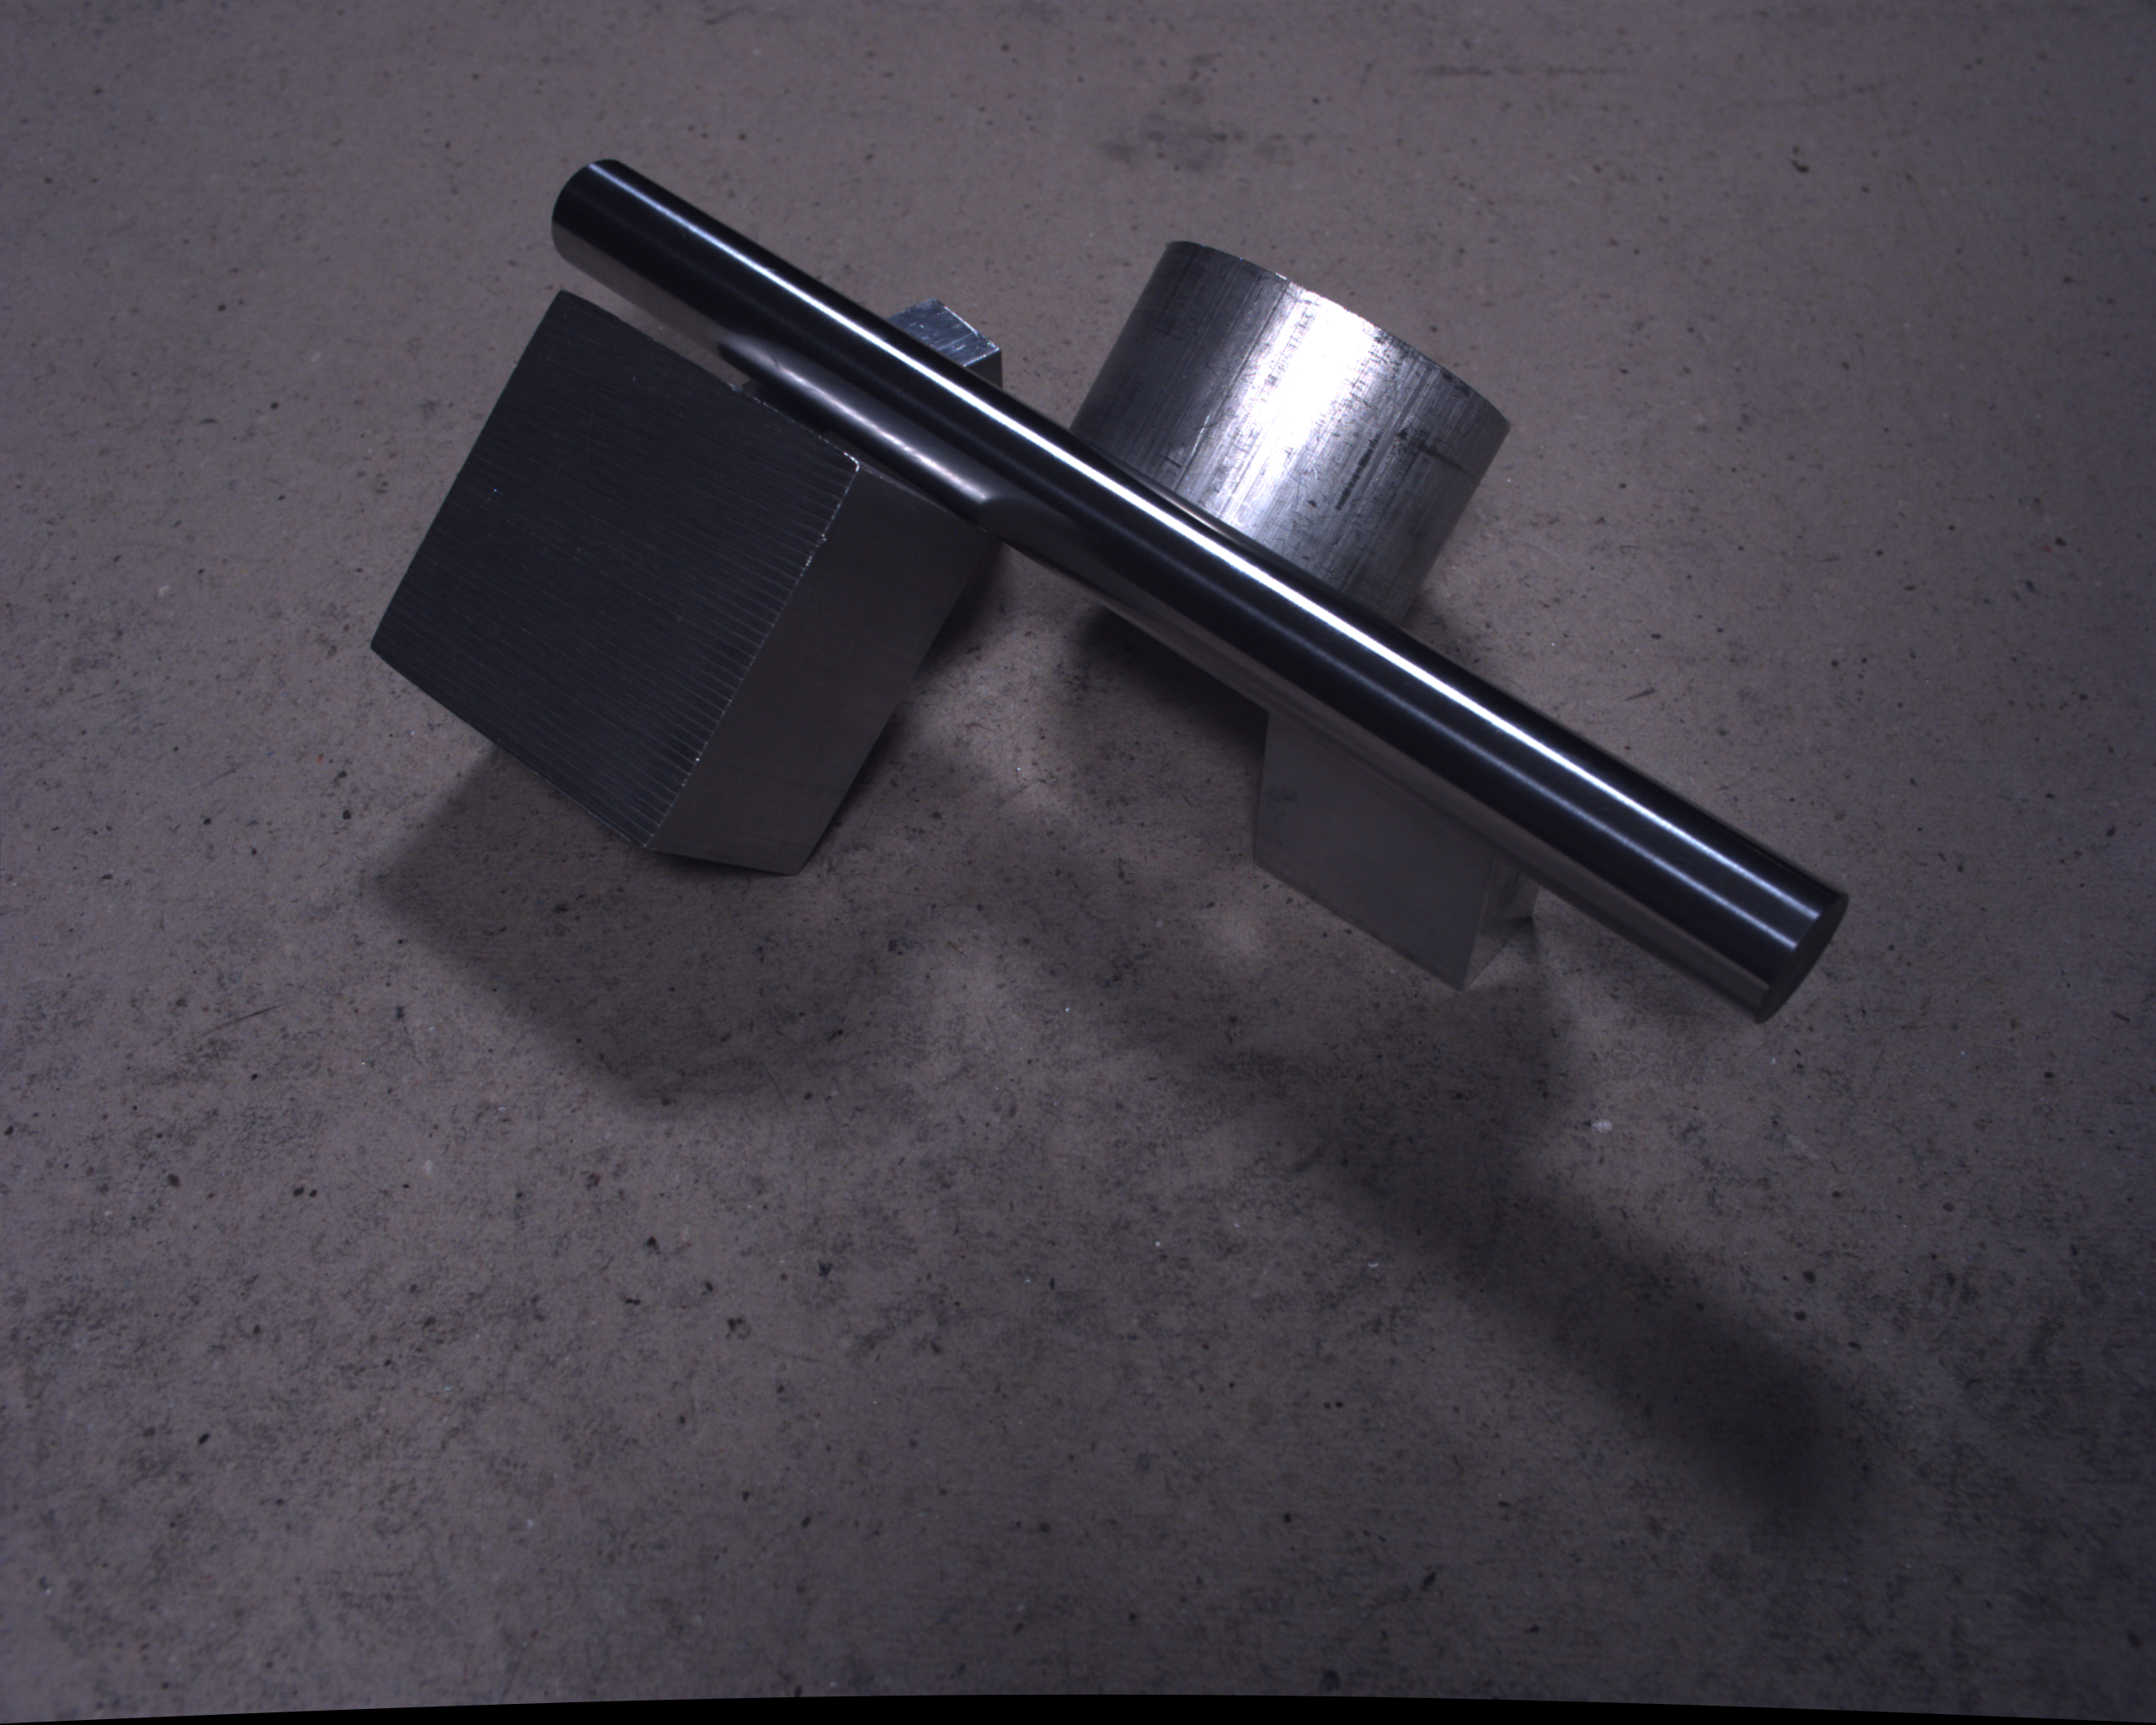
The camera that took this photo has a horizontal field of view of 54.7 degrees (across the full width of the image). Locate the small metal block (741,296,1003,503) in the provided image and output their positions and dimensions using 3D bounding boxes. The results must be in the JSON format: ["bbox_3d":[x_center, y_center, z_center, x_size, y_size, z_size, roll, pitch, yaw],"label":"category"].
[{"bbox_3d":[-0.044,-0.090,0.464,0.050,0.050,0.025,-32,57,-24],"label":"small metal block"}]

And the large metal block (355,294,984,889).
[{"bbox_3d":[-0.080,-0.051,0.408,0.080,0.050,0.080,33,98,24],"label":"large metal block"}]

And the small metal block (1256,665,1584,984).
[{"bbox_3d":[0.063,-0.012,0.396,0.050,0.050,0.025,33,58,24],"label":"small metal block"}]

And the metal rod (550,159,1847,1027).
[{"bbox_3d":[0.004,-0.063,0.393,0.300,0.025,0.025,36,58,26],"label":"metal rod"}]

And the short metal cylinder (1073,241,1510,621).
[{"bbox_3d":[0.042,-0.086,0.434,0.080,0.080,0.050,32,98,23],"label":"short metal cylinder"}]
